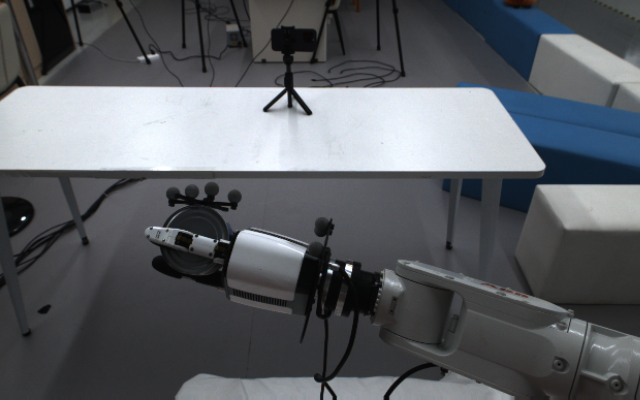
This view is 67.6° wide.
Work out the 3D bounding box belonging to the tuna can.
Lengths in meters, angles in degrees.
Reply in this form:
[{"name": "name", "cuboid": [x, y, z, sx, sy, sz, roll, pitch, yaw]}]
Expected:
[{"name": "tuna can", "cuboid": [-0.150, 0.051, 0.600, 0.085, 0.034, 0.085, -1, 76, 3]}]
